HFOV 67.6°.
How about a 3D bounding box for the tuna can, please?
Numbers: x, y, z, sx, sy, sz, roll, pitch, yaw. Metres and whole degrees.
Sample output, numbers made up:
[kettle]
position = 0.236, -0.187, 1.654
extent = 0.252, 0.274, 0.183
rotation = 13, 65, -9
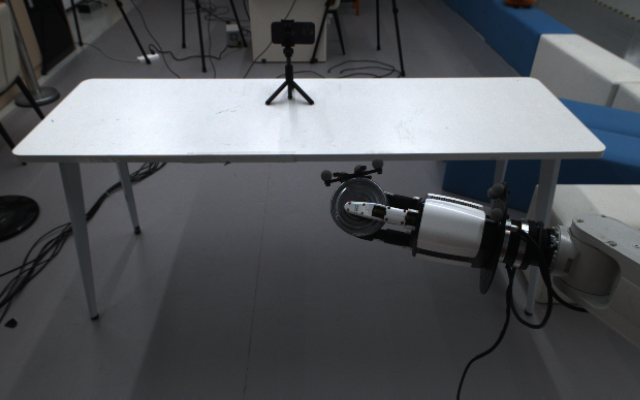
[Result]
[tuna can]
position = 0.062, 0.016, 0.713
extent = 0.085, 0.085, 0.034
rotation = 12, -6, 15
